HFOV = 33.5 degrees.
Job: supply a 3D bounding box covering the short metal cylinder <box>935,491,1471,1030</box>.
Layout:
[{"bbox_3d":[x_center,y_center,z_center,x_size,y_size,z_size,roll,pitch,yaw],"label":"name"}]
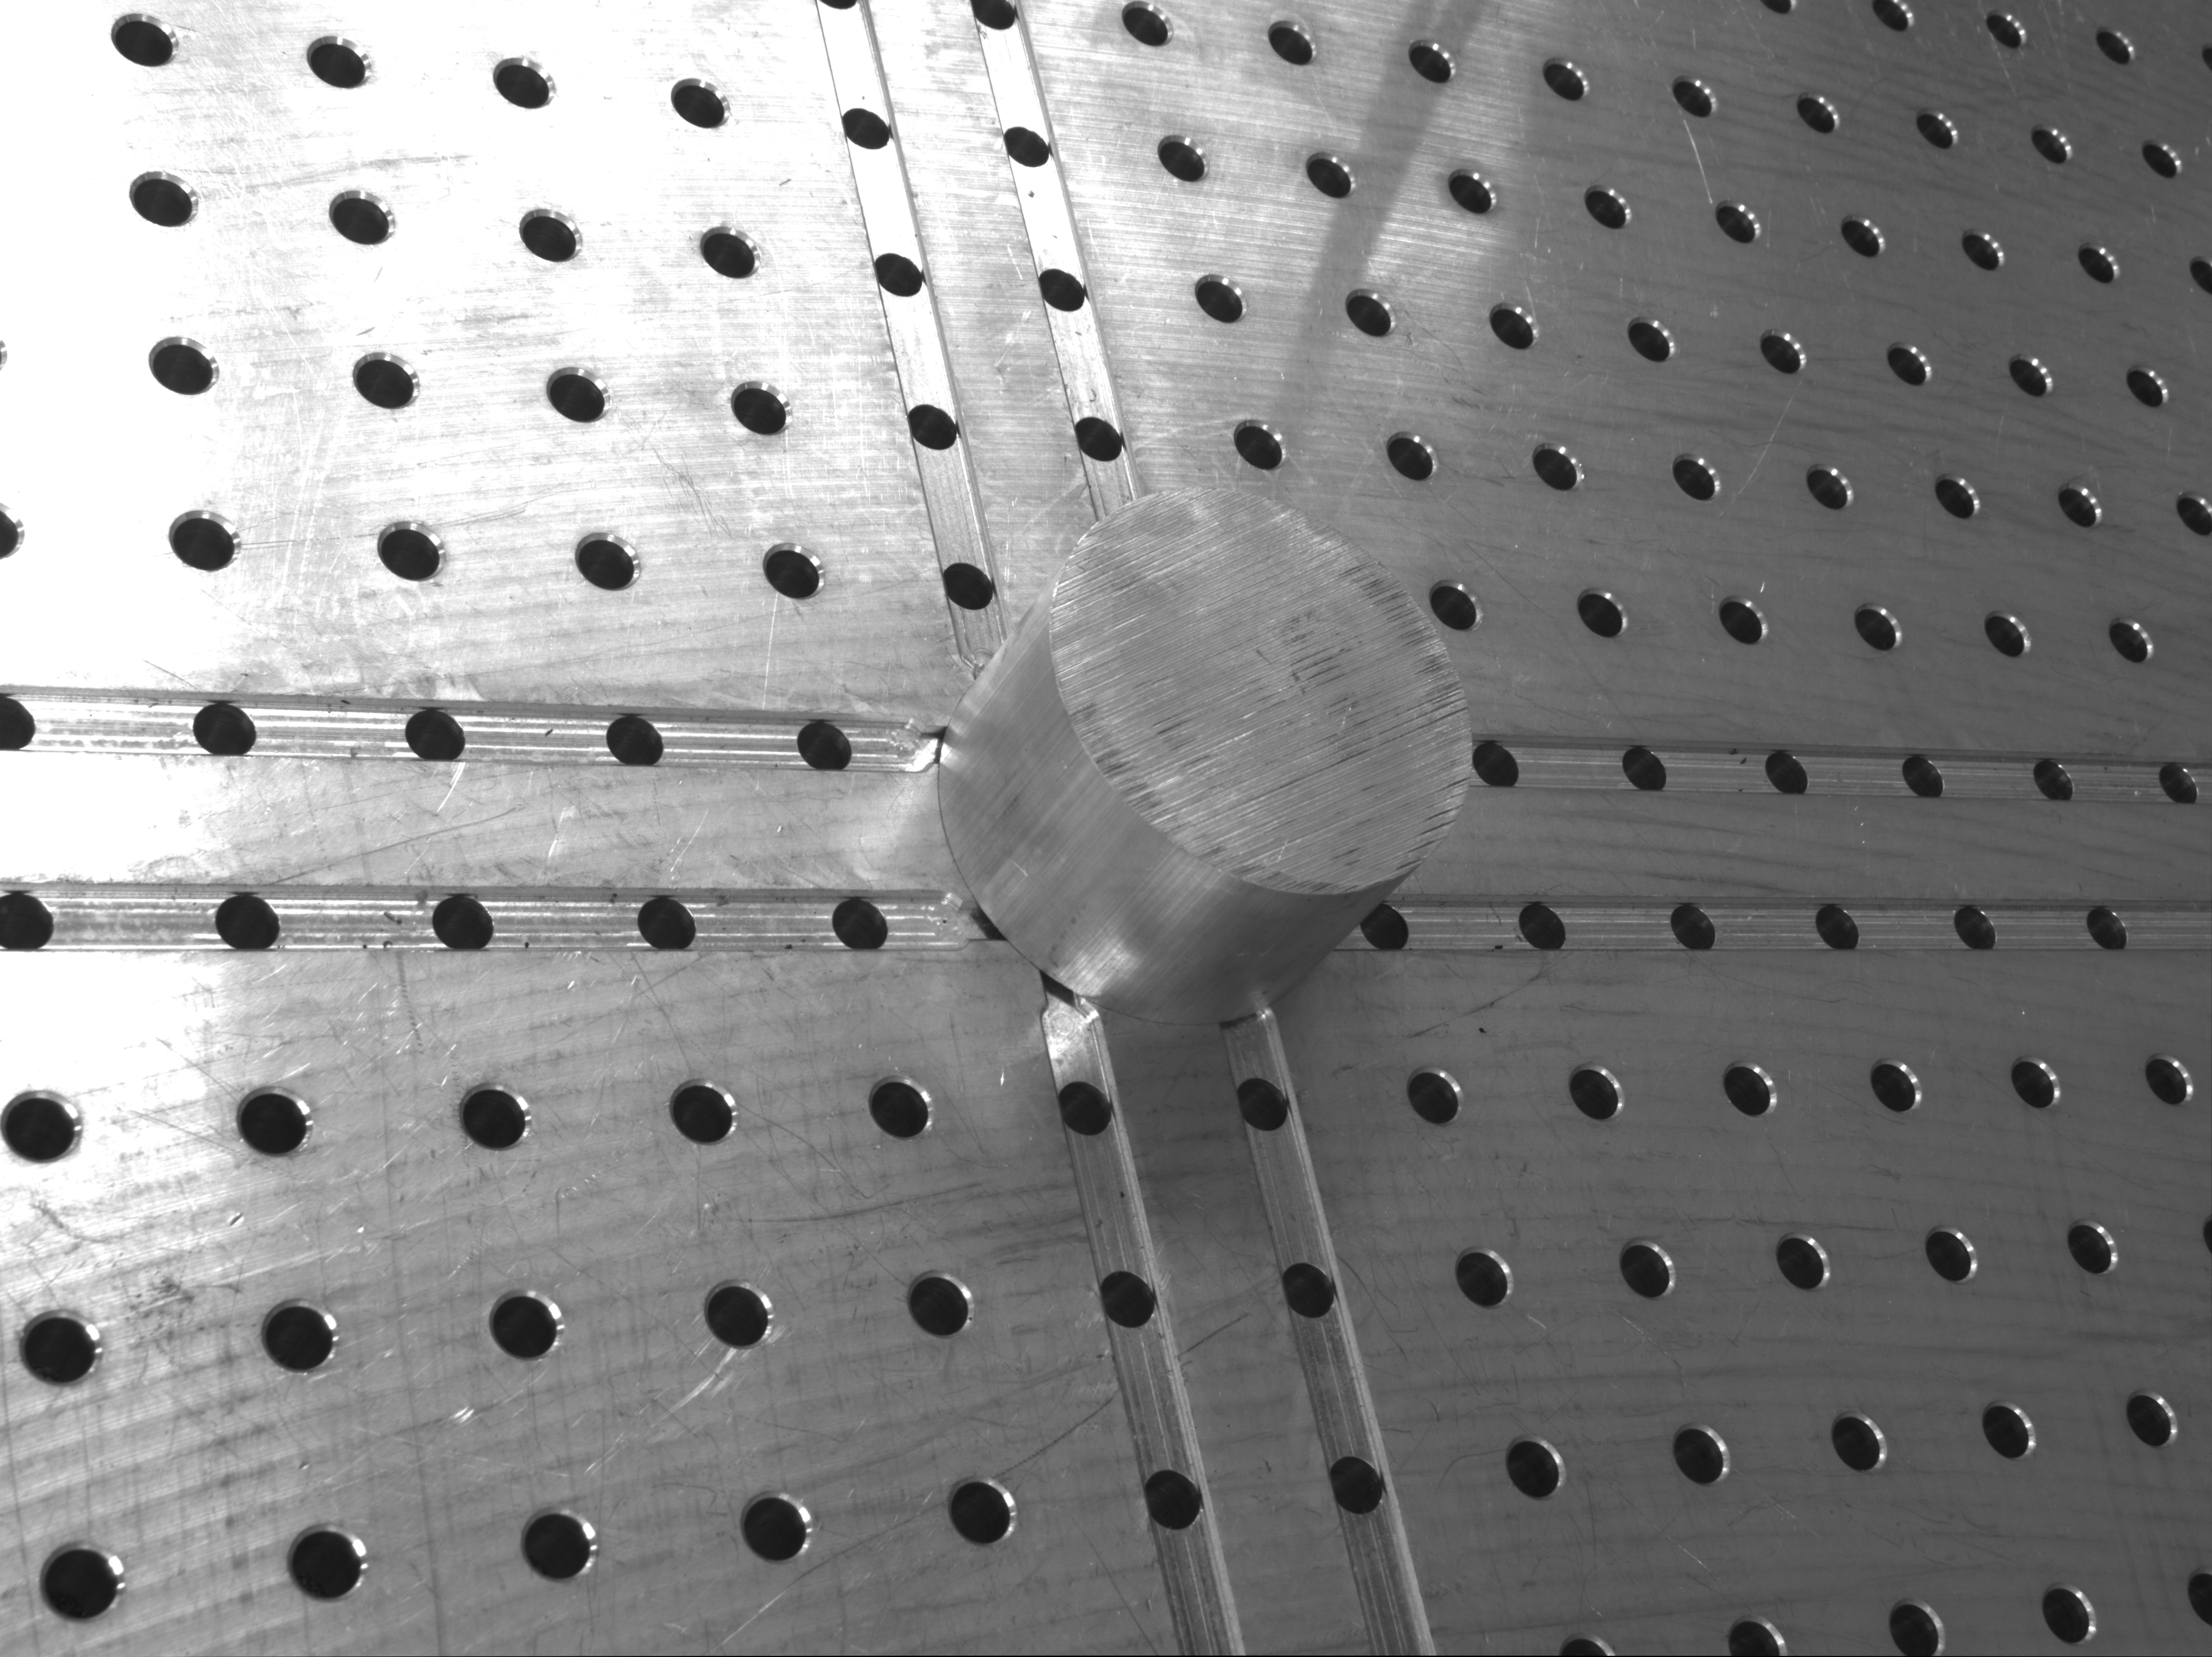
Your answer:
[{"bbox_3d":[0.017,-0.012,0.642,0.080,0.050,0.080,13,56,-21],"label":"short metal cylinder"}]
